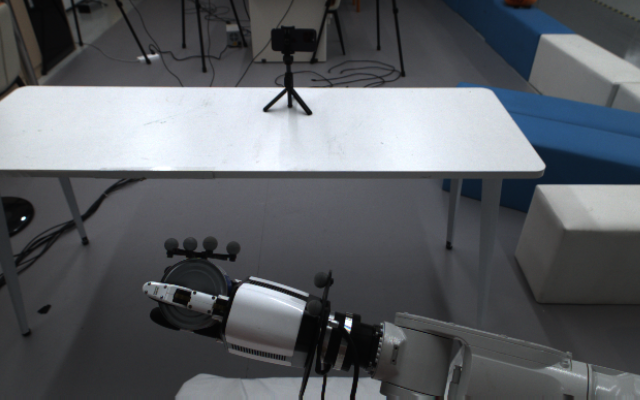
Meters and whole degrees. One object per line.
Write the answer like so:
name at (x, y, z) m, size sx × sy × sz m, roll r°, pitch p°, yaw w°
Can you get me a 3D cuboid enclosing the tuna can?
tuna can at (-0.151, 0.116, 0.596) m, size 0.085 × 0.034 × 0.085 m, roll -1°, pitch 77°, yaw 4°
